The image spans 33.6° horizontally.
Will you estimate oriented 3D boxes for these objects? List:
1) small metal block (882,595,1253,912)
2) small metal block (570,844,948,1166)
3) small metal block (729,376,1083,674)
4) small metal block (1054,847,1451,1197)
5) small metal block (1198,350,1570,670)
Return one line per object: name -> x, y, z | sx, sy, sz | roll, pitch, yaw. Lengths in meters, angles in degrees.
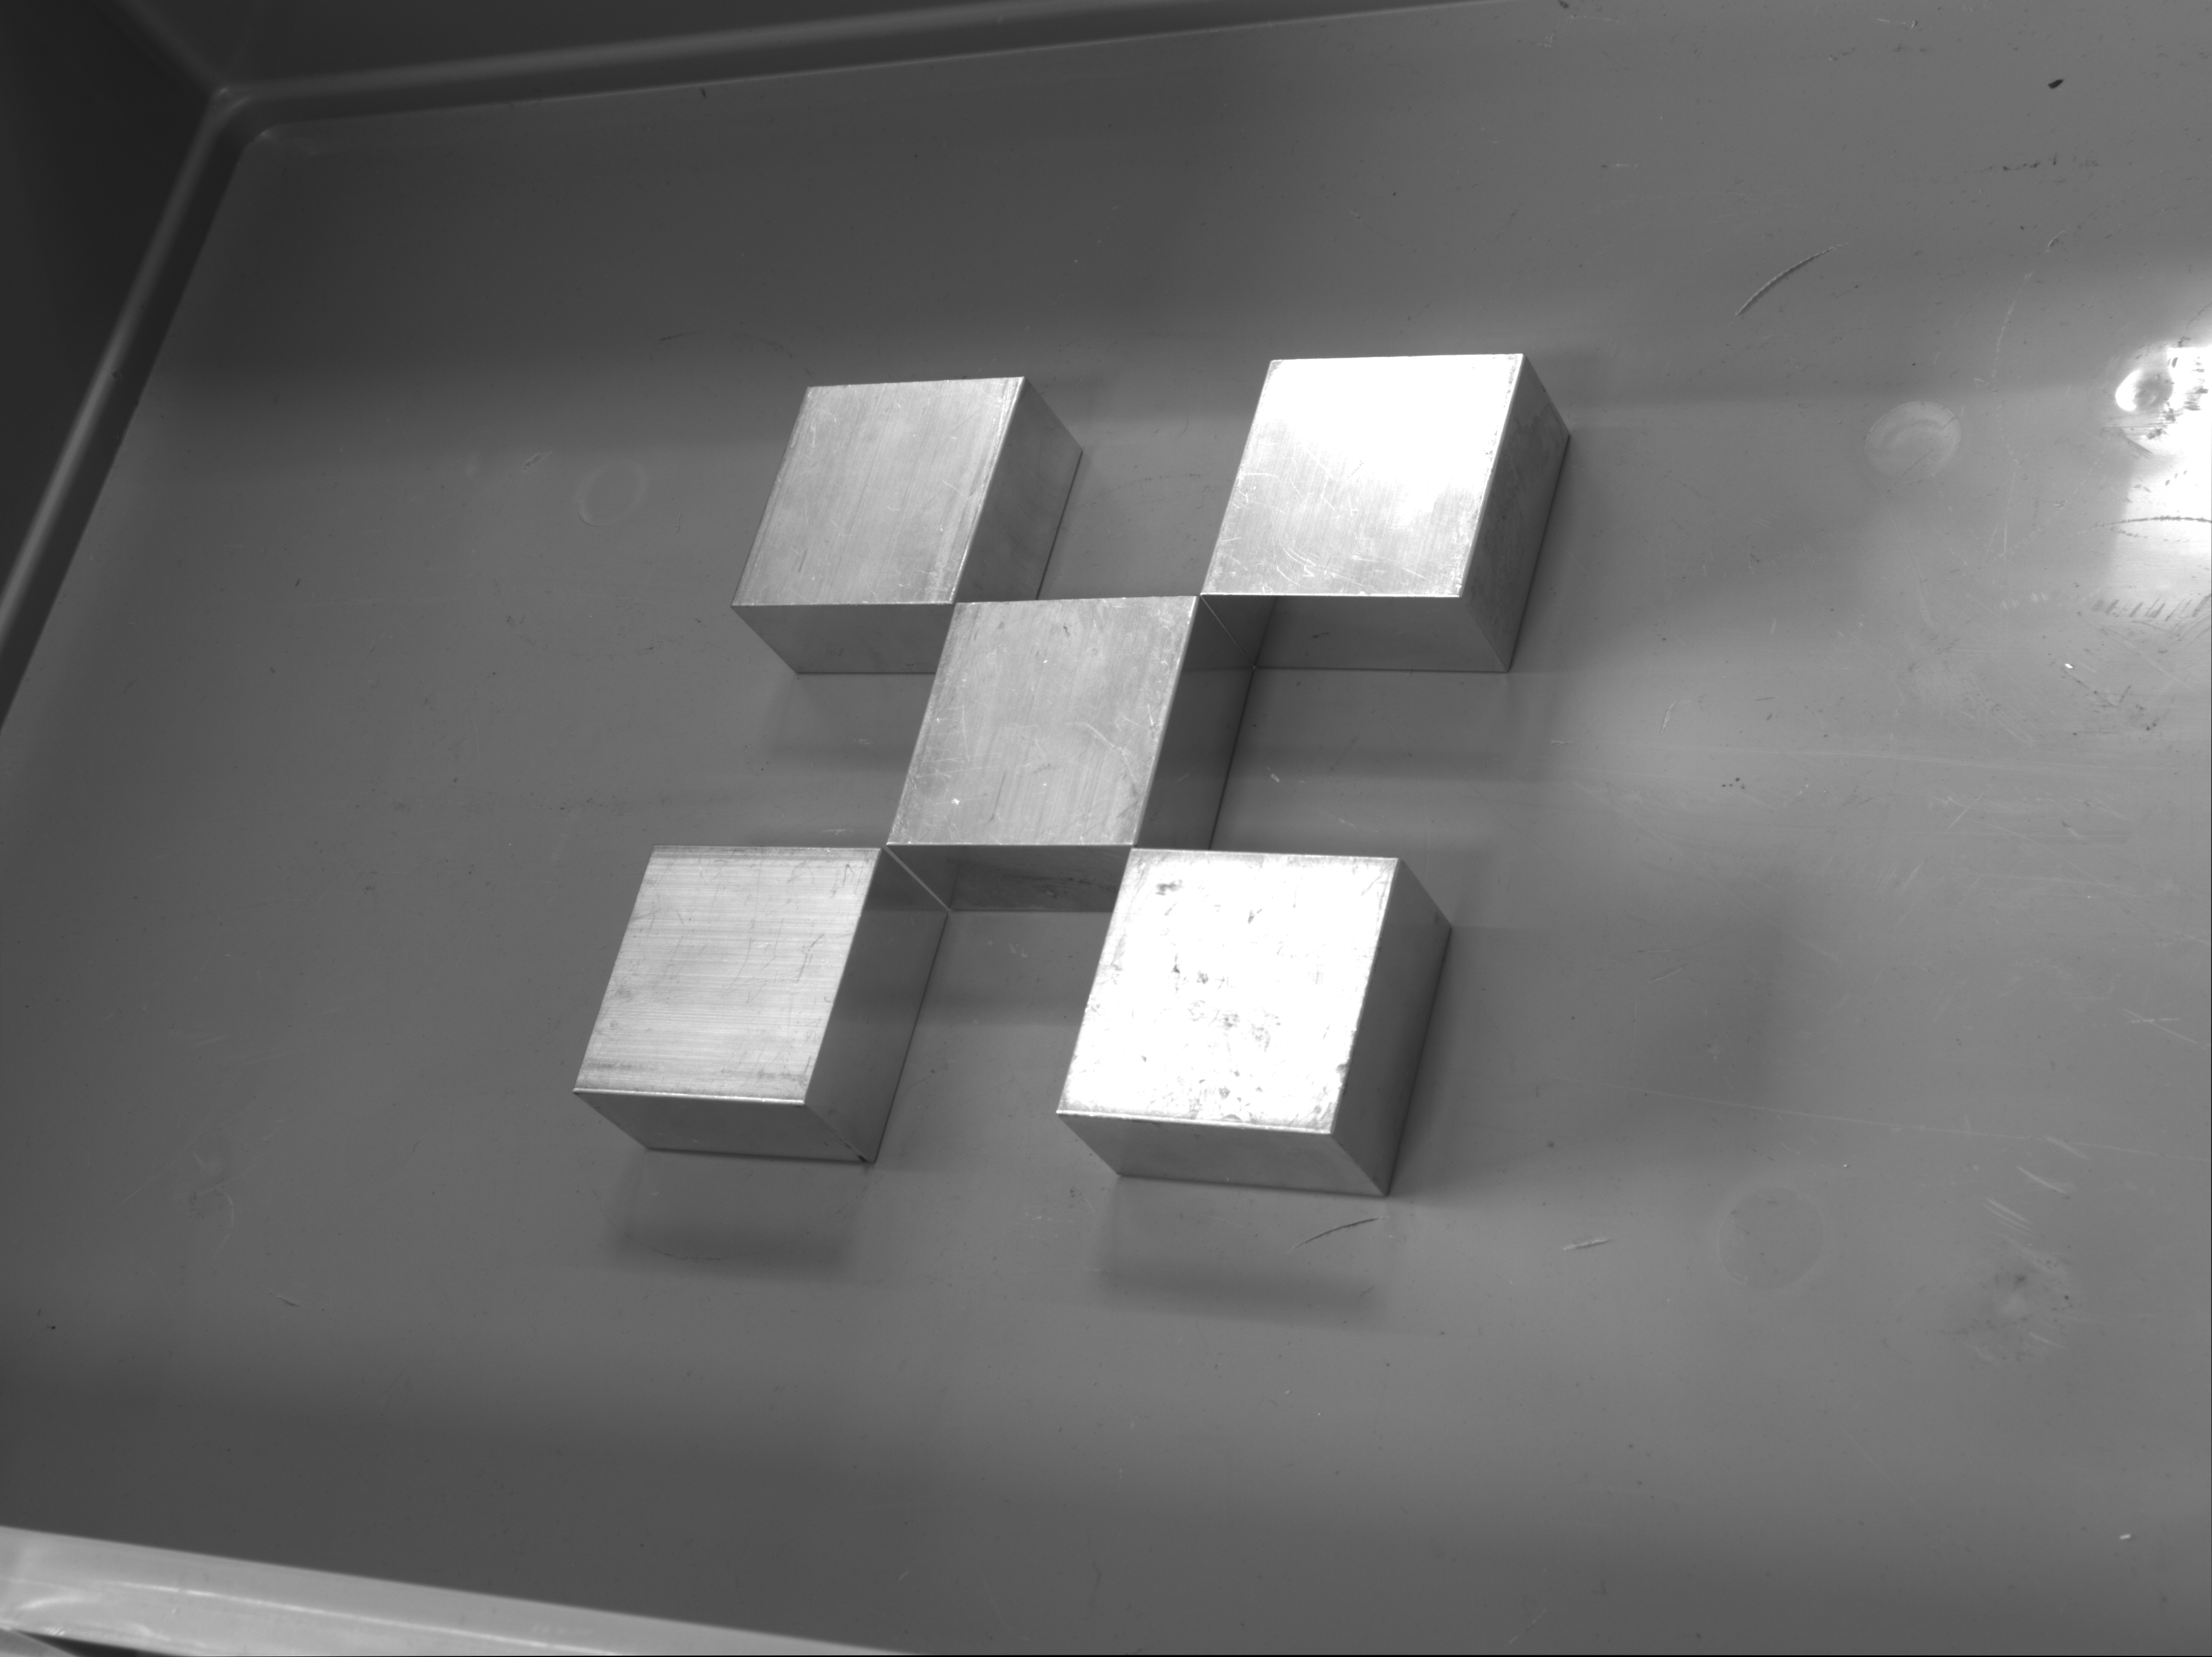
small metal block -> -0.006, -0.013, 0.654 | 0.050, 0.025, 0.050 | 0, 62, 29
small metal block -> -0.062, 0.031, 0.657 | 0.050, 0.025, 0.050 | 1, 62, 29
small metal block -> -0.038, -0.057, 0.699 | 0.050, 0.025, 0.050 | 2, 62, 29
small metal block -> 0.025, 0.032, 0.609 | 0.050, 0.025, 0.050 | 1, 62, 29
small metal block -> 0.050, -0.056, 0.650 | 0.050, 0.025, 0.050 | 2, 63, 30
